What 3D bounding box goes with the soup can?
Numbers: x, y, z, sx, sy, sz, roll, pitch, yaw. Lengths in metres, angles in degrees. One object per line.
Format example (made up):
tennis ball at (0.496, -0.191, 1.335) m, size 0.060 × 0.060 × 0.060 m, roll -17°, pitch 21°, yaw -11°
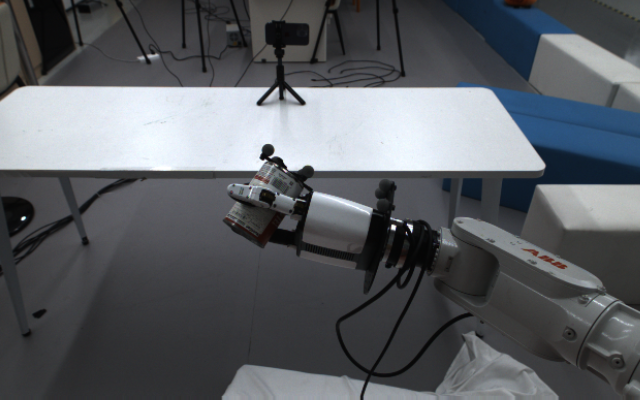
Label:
soup can at (-0.076, 0.007, 0.667) m, size 0.067 × 0.067 × 0.101 m, roll 26°, pitch 76°, yaw 30°
